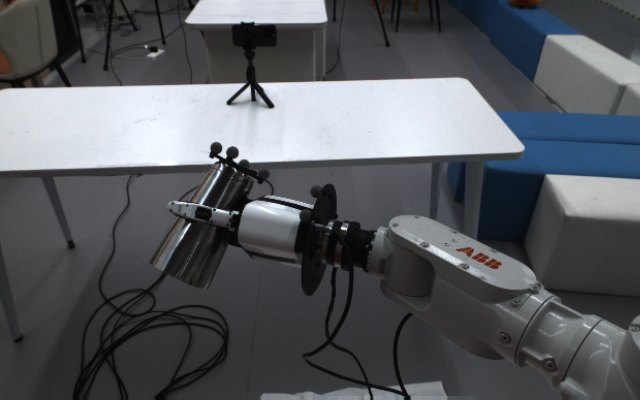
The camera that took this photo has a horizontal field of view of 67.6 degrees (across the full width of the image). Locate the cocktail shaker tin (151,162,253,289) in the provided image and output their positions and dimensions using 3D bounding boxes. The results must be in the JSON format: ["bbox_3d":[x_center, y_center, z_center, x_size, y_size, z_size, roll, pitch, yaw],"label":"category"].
[{"bbox_3d":[-0.164,0.031,0.705,0.093,0.093,0.170,22,81,26],"label":"cocktail shaker tin"}]
